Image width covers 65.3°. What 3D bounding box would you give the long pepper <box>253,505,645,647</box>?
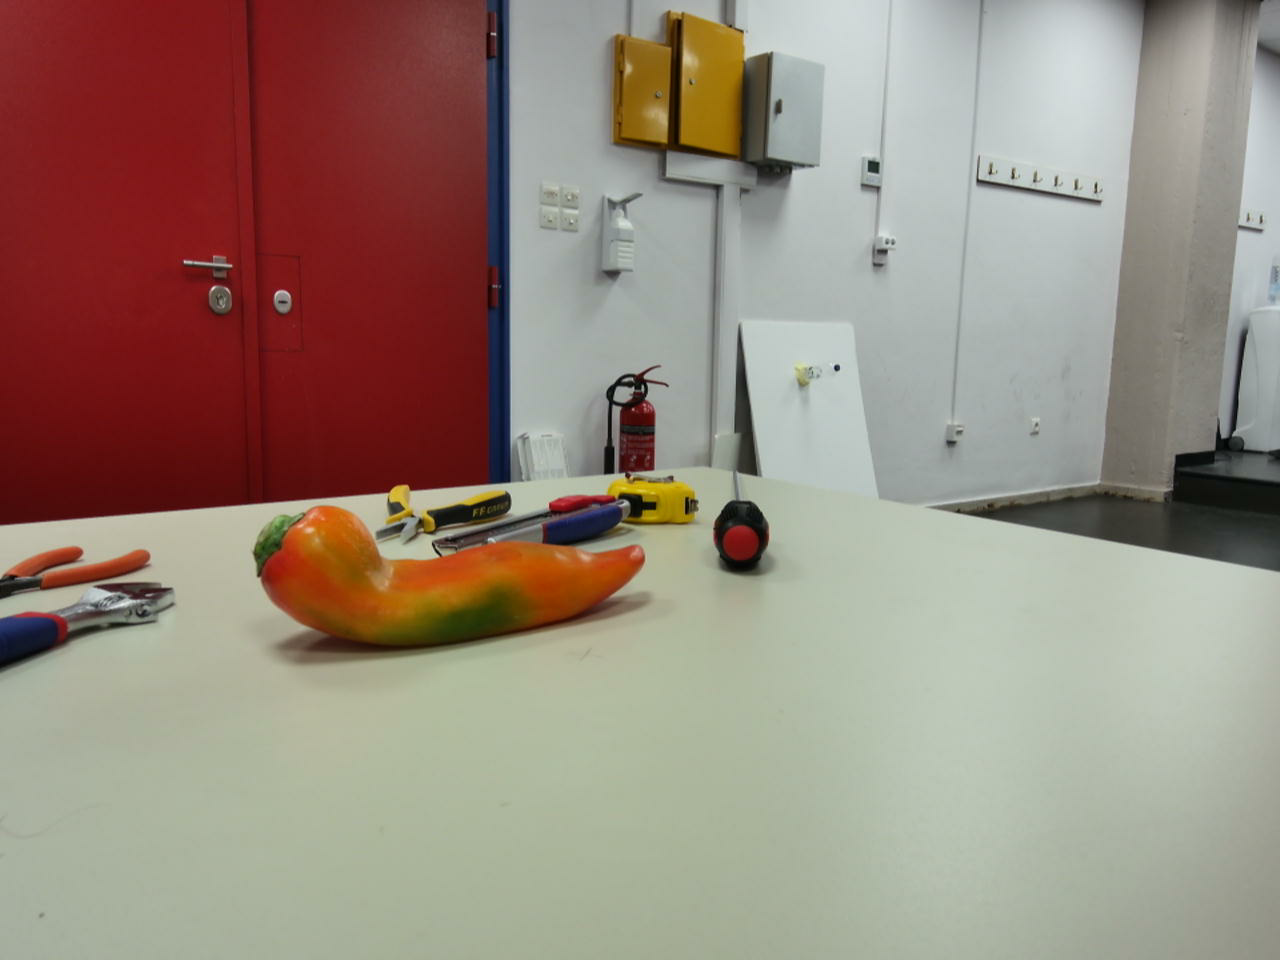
[{"bbox_3d":[-0.079,0.039,0.480,0.199,0.065,0.066,-4,7,-32],"label":"long pepper"}]
